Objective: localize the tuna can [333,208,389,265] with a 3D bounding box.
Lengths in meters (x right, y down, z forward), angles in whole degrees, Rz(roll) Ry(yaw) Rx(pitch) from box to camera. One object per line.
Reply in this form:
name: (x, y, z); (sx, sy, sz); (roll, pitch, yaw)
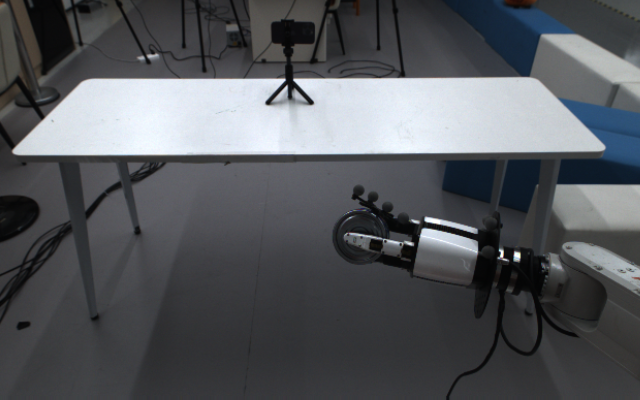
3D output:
tuna can: (0.066, 0.062, 0.741); (0.085, 0.085, 0.034); (13, 4, 15)
